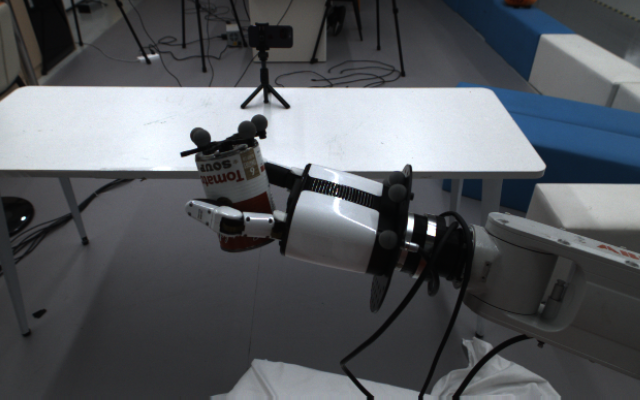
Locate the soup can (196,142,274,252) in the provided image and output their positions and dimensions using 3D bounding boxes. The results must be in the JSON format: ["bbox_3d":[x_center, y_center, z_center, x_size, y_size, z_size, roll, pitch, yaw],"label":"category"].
[{"bbox_3d":[-0.081,-0.005,0.506,0.067,0.101,0.067,-13,17,4],"label":"soup can"}]
